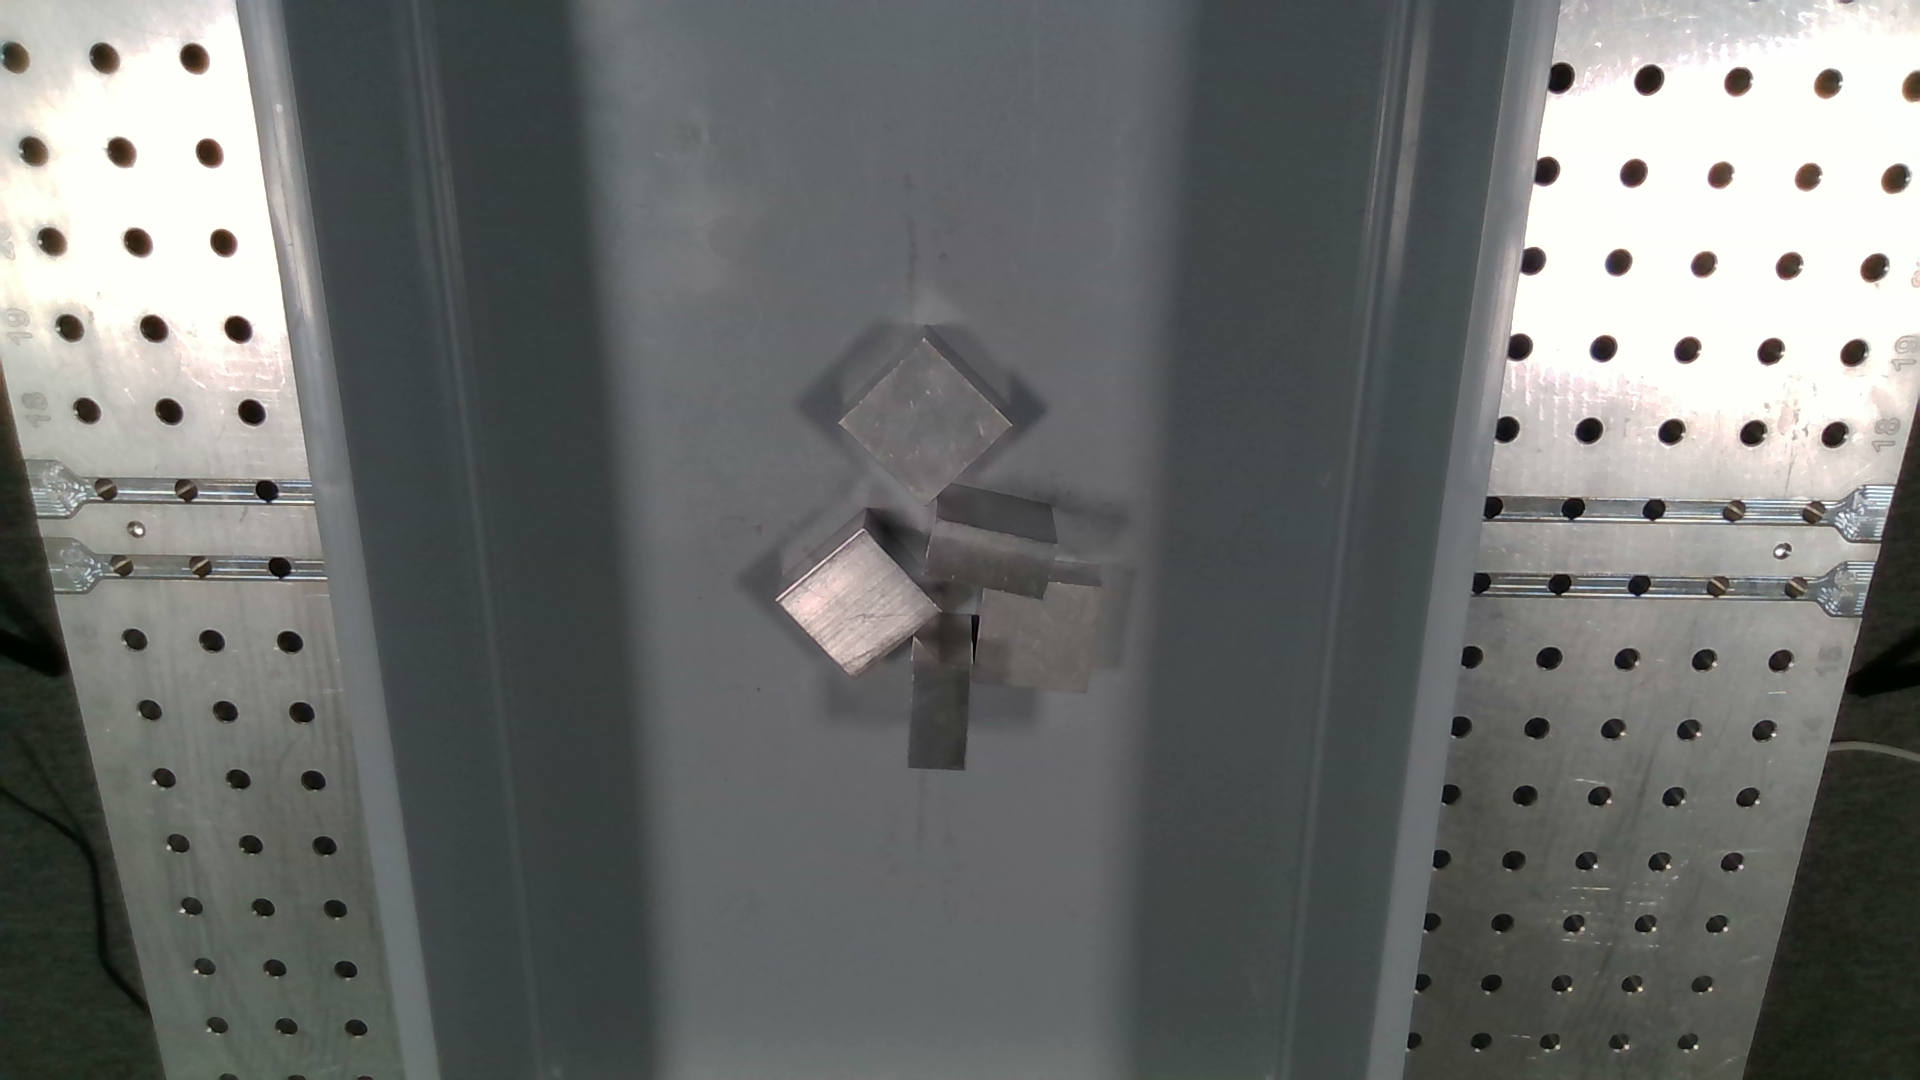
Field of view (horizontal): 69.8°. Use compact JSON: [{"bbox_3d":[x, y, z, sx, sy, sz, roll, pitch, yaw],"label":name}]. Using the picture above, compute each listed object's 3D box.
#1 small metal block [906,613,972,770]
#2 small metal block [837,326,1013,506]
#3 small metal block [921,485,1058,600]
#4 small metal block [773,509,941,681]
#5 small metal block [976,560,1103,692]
[{"bbox_3d":[-0.009,0.064,0.593,0.025,0.050,0.050,3,110,-1],"label":"small metal block"},{"bbox_3d":[-0.014,-0.051,0.564,0.050,0.025,0.050,-43,105,14],"label":"small metal block"},{"bbox_3d":[0.012,-0.001,0.569,0.050,0.050,0.025,12,110,-4],"label":"small metal block"},{"bbox_3d":[-0.043,0.023,0.591,0.050,0.025,0.050,-39,106,13],"label":"small metal block"},{"bbox_3d":[0.032,0.035,0.596,0.050,0.025,0.050,6,110,-2],"label":"small metal block"}]
